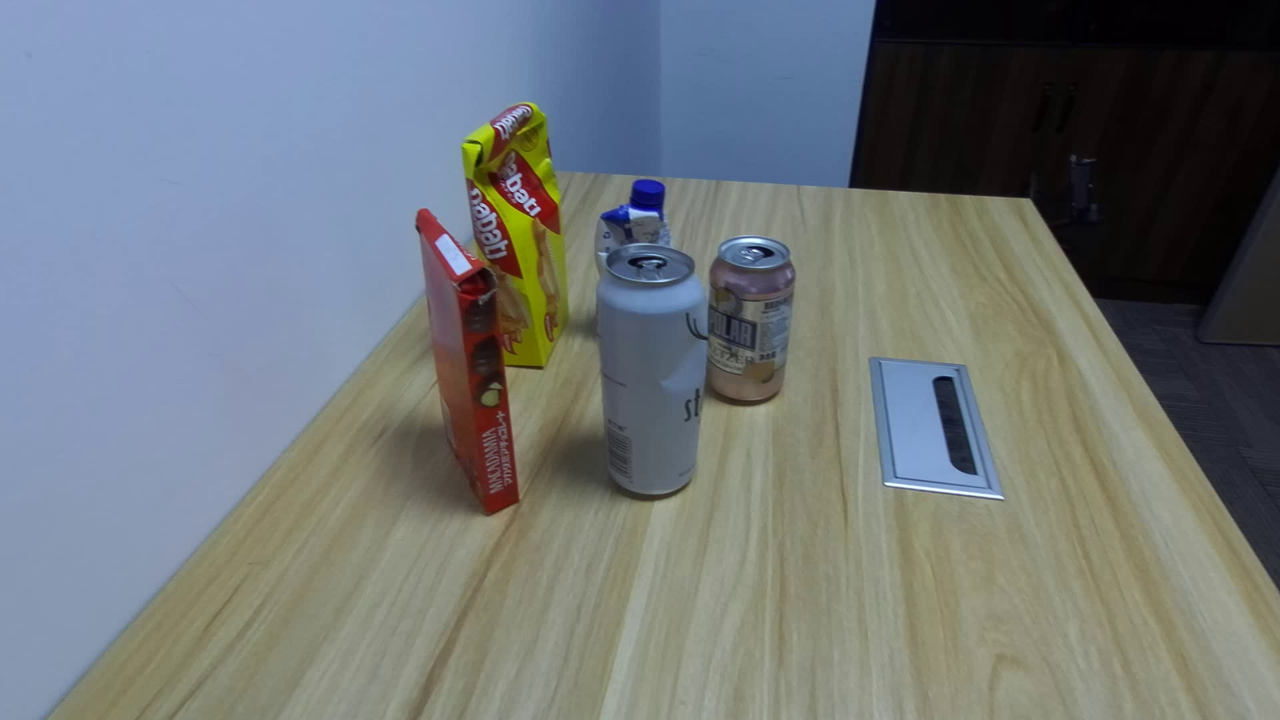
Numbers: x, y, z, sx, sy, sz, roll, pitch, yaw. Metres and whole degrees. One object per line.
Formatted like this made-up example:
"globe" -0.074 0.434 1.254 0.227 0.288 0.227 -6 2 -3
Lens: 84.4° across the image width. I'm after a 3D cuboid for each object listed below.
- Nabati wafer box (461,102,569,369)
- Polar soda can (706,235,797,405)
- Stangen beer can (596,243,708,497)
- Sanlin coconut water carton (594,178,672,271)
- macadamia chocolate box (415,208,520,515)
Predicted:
"Nabati wafer box" -0.100 -0.102 0.599 0.042 0.205 0.113 4 38 10
"Polar soda can" 0.087 -0.031 0.566 0.067 0.126 0.067 0 32 0
"Stangen beer can" 0.010 0.008 0.471 0.069 0.173 0.070 3 35 6
"Sanlin coconut water carton" -0.003 -0.086 0.628 0.068 0.145 0.056 -9 27 2
"macadamia chocolate box" -0.116 0.003 0.473 0.027 0.187 0.102 -17 38 -25
